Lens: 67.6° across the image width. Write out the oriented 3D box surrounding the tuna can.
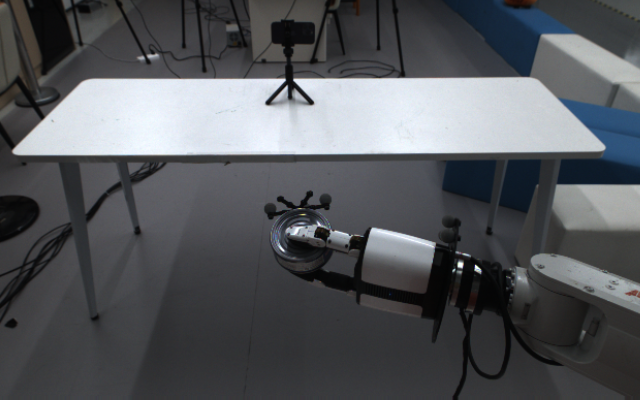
[{"bbox_3d":[-0.020,0.060,0.653,0.085,0.034,0.085,-3,60,5],"label":"tuna can"}]
